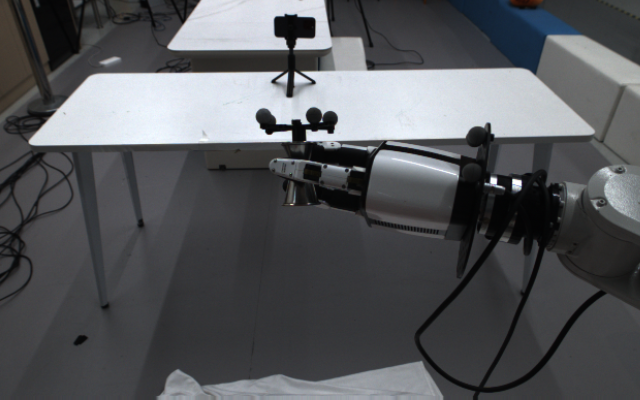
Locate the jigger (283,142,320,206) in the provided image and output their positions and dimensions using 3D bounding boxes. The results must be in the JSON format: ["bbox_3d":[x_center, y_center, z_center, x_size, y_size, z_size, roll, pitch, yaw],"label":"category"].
[{"bbox_3d":[-0.022,-0.028,0.531,0.043,0.071,0.043,-2,3,0],"label":"jigger"}]
